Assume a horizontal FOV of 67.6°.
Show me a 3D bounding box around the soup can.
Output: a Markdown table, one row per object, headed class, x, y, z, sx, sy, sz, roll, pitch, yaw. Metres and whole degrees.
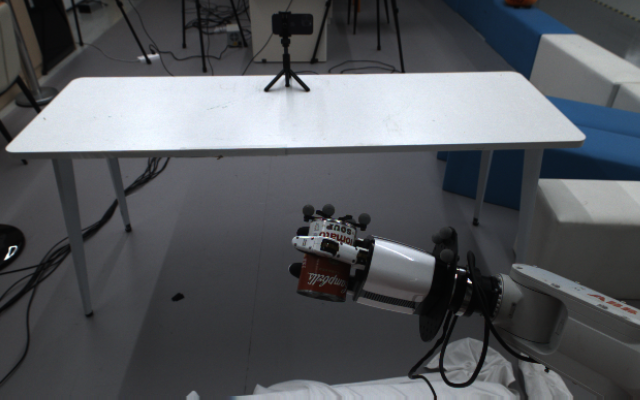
| class | x | y | z | sx | sy | sz | roll | pitch | yaw |
| --- | --- | --- | --- | --- | --- | --- | --- | --- | --- |
| soup can | 0.011 | 0.082 | 0.658 | 0.067 | 0.067 | 0.101 | 8 | 71 | 9 |
